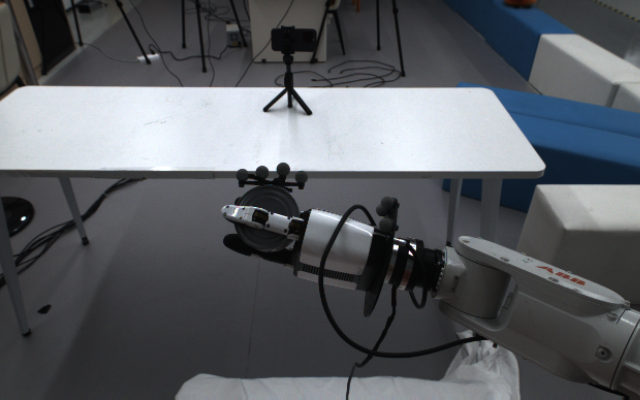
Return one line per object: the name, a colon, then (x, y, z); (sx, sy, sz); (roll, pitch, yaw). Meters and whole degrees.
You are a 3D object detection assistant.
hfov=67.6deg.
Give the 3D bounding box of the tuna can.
tuna can: (-0.067, 0.025, 0.635); (0.085, 0.034, 0.085); (-1, 77, 4)
